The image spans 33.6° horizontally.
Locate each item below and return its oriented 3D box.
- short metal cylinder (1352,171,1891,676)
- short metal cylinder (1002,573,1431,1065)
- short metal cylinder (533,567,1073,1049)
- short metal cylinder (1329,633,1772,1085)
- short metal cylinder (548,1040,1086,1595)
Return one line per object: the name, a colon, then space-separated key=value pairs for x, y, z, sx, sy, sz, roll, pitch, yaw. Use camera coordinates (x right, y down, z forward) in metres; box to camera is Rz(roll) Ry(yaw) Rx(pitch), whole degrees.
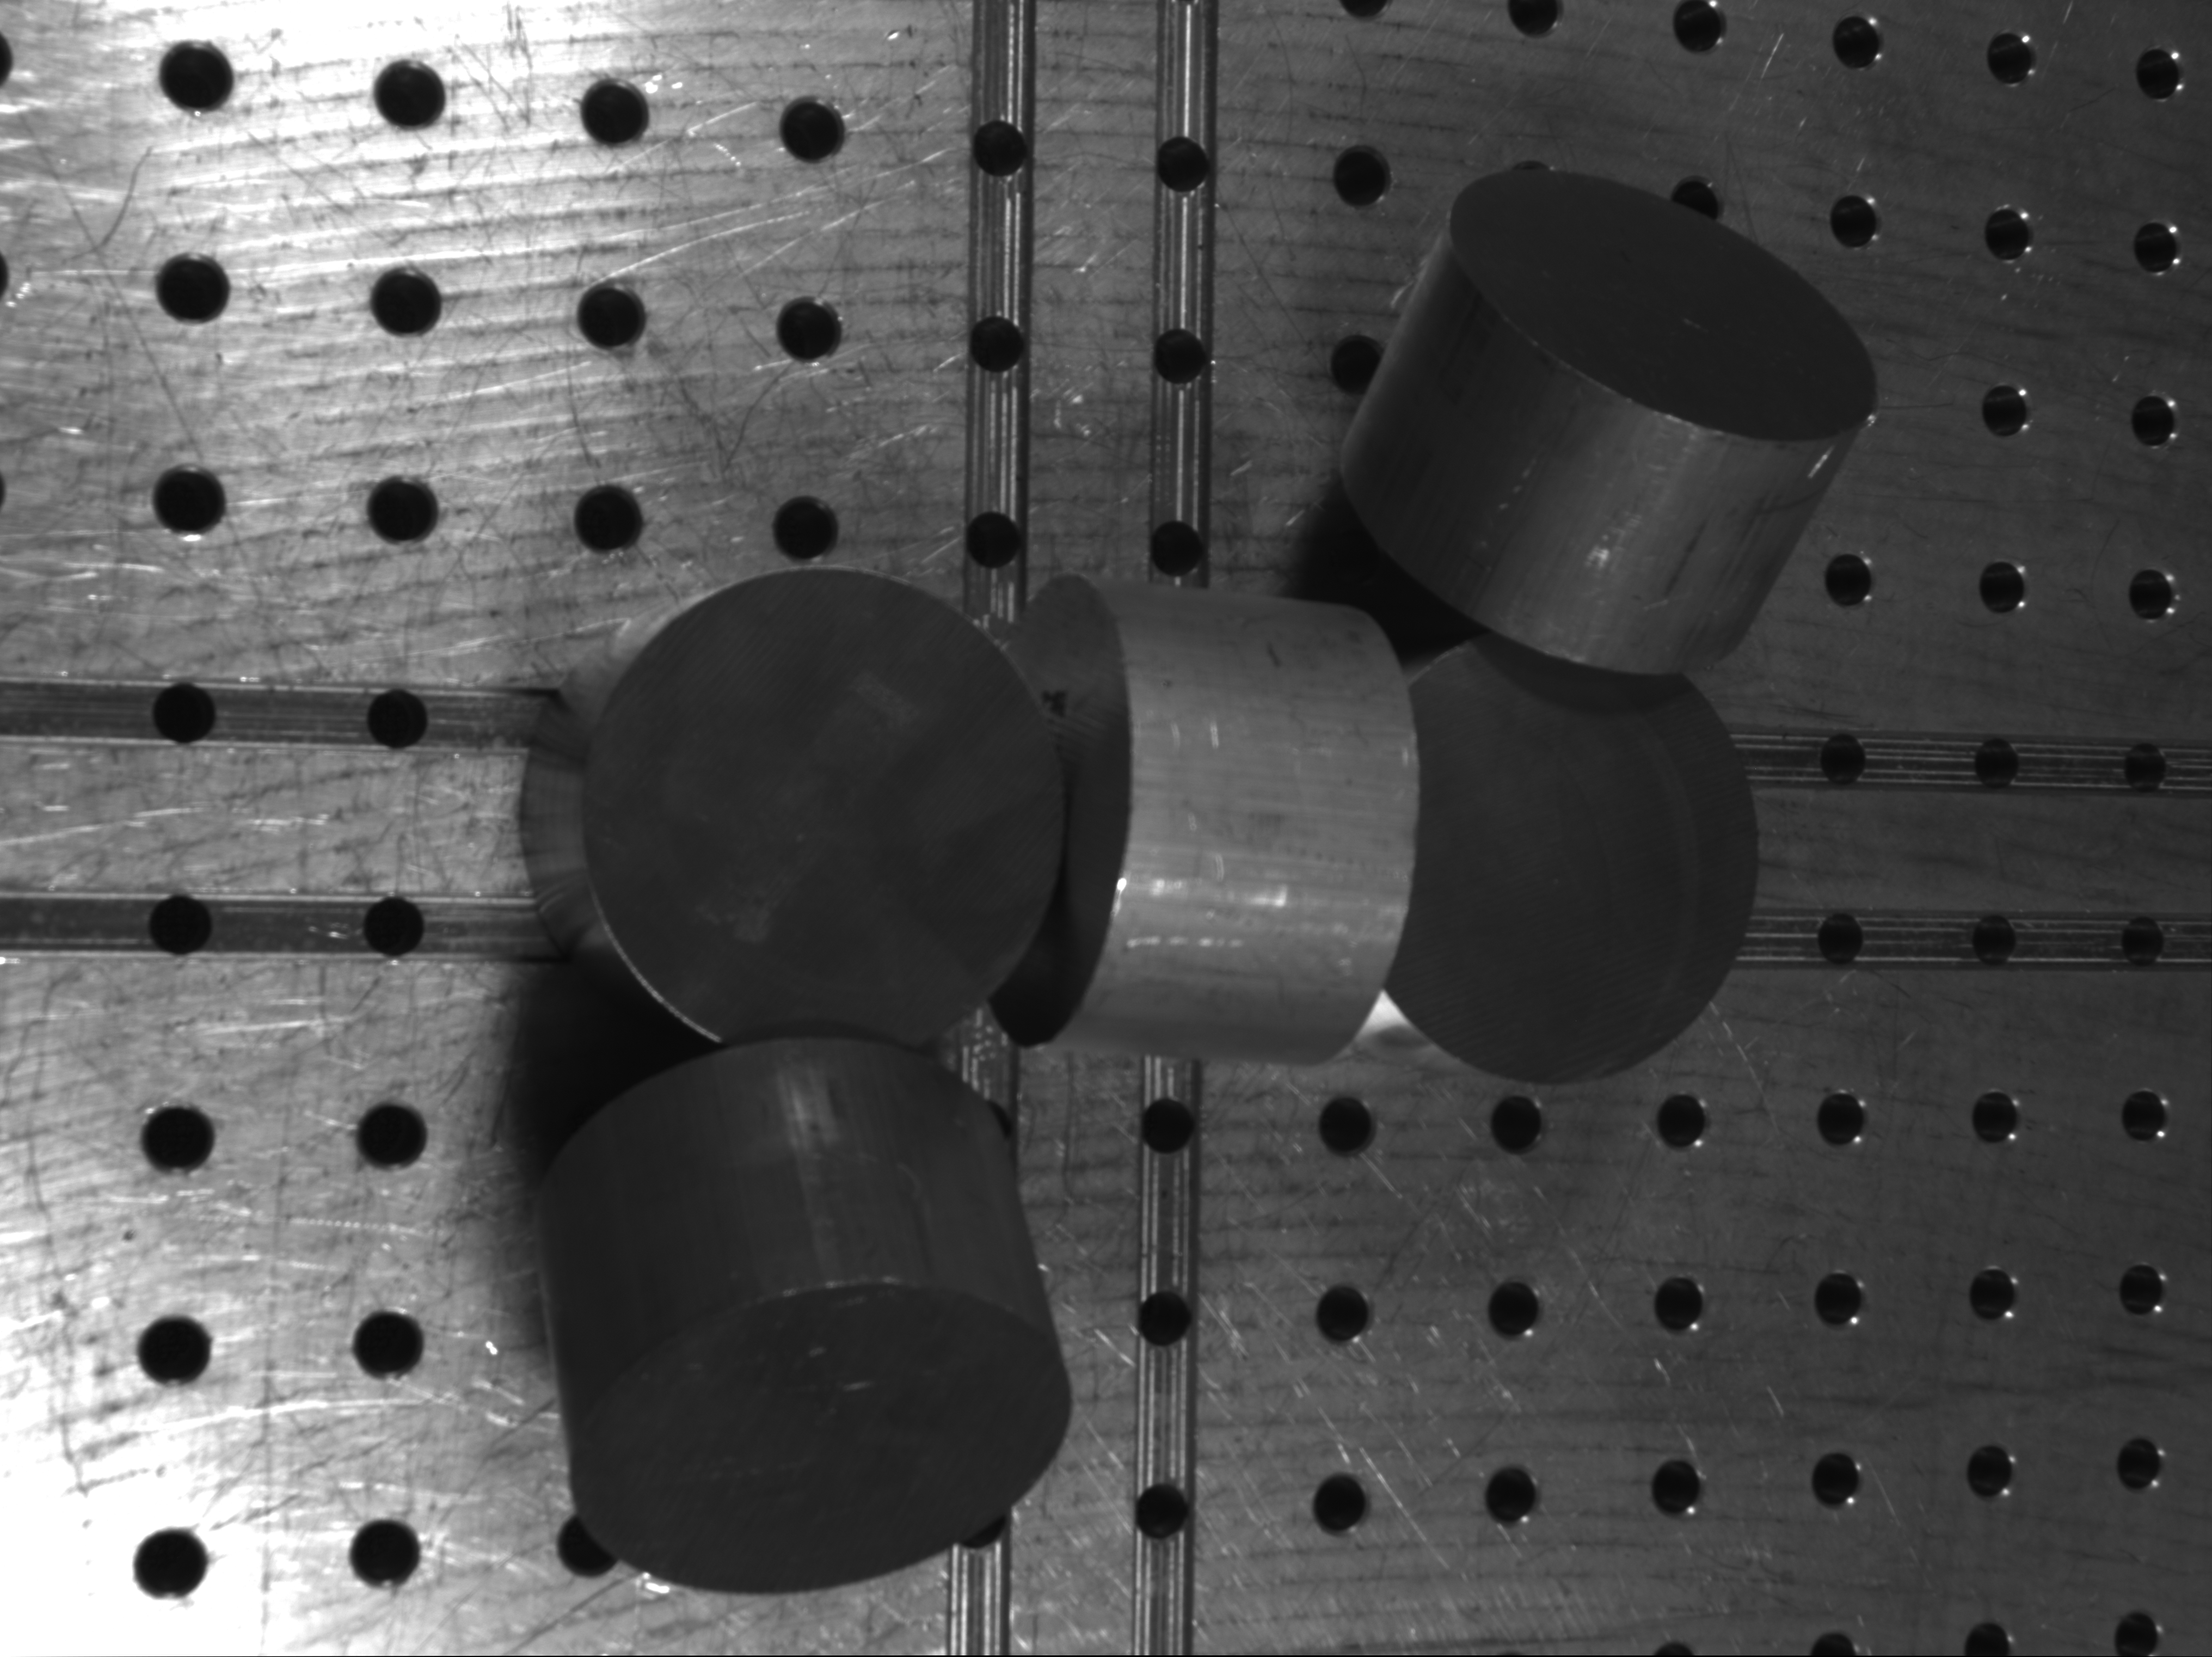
short metal cylinder: x=0.090 y=-0.072 z=0.642 sx=0.080 sy=0.080 sz=0.050 roll=9 pitch=128 yaw=-20
short metal cylinder: x=0.015 y=-0.001 z=0.622 sx=0.050 sy=0.080 sz=0.080 roll=5 pitch=88 yaw=-20
short metal cylinder: x=-0.051 y=-0.002 z=0.613 sx=0.080 sy=0.050 sz=0.080 roll=0 pitch=90 yaw=-20
short metal cylinder: x=0.072 y=0.004 z=0.658 sx=0.080 sy=0.050 sz=0.080 roll=0 pitch=90 yaw=-20
short metal cylinder: x=-0.048 y=0.080 z=0.593 sx=0.080 sy=0.050 sz=0.080 roll=-9 pitch=136 yaw=-9
